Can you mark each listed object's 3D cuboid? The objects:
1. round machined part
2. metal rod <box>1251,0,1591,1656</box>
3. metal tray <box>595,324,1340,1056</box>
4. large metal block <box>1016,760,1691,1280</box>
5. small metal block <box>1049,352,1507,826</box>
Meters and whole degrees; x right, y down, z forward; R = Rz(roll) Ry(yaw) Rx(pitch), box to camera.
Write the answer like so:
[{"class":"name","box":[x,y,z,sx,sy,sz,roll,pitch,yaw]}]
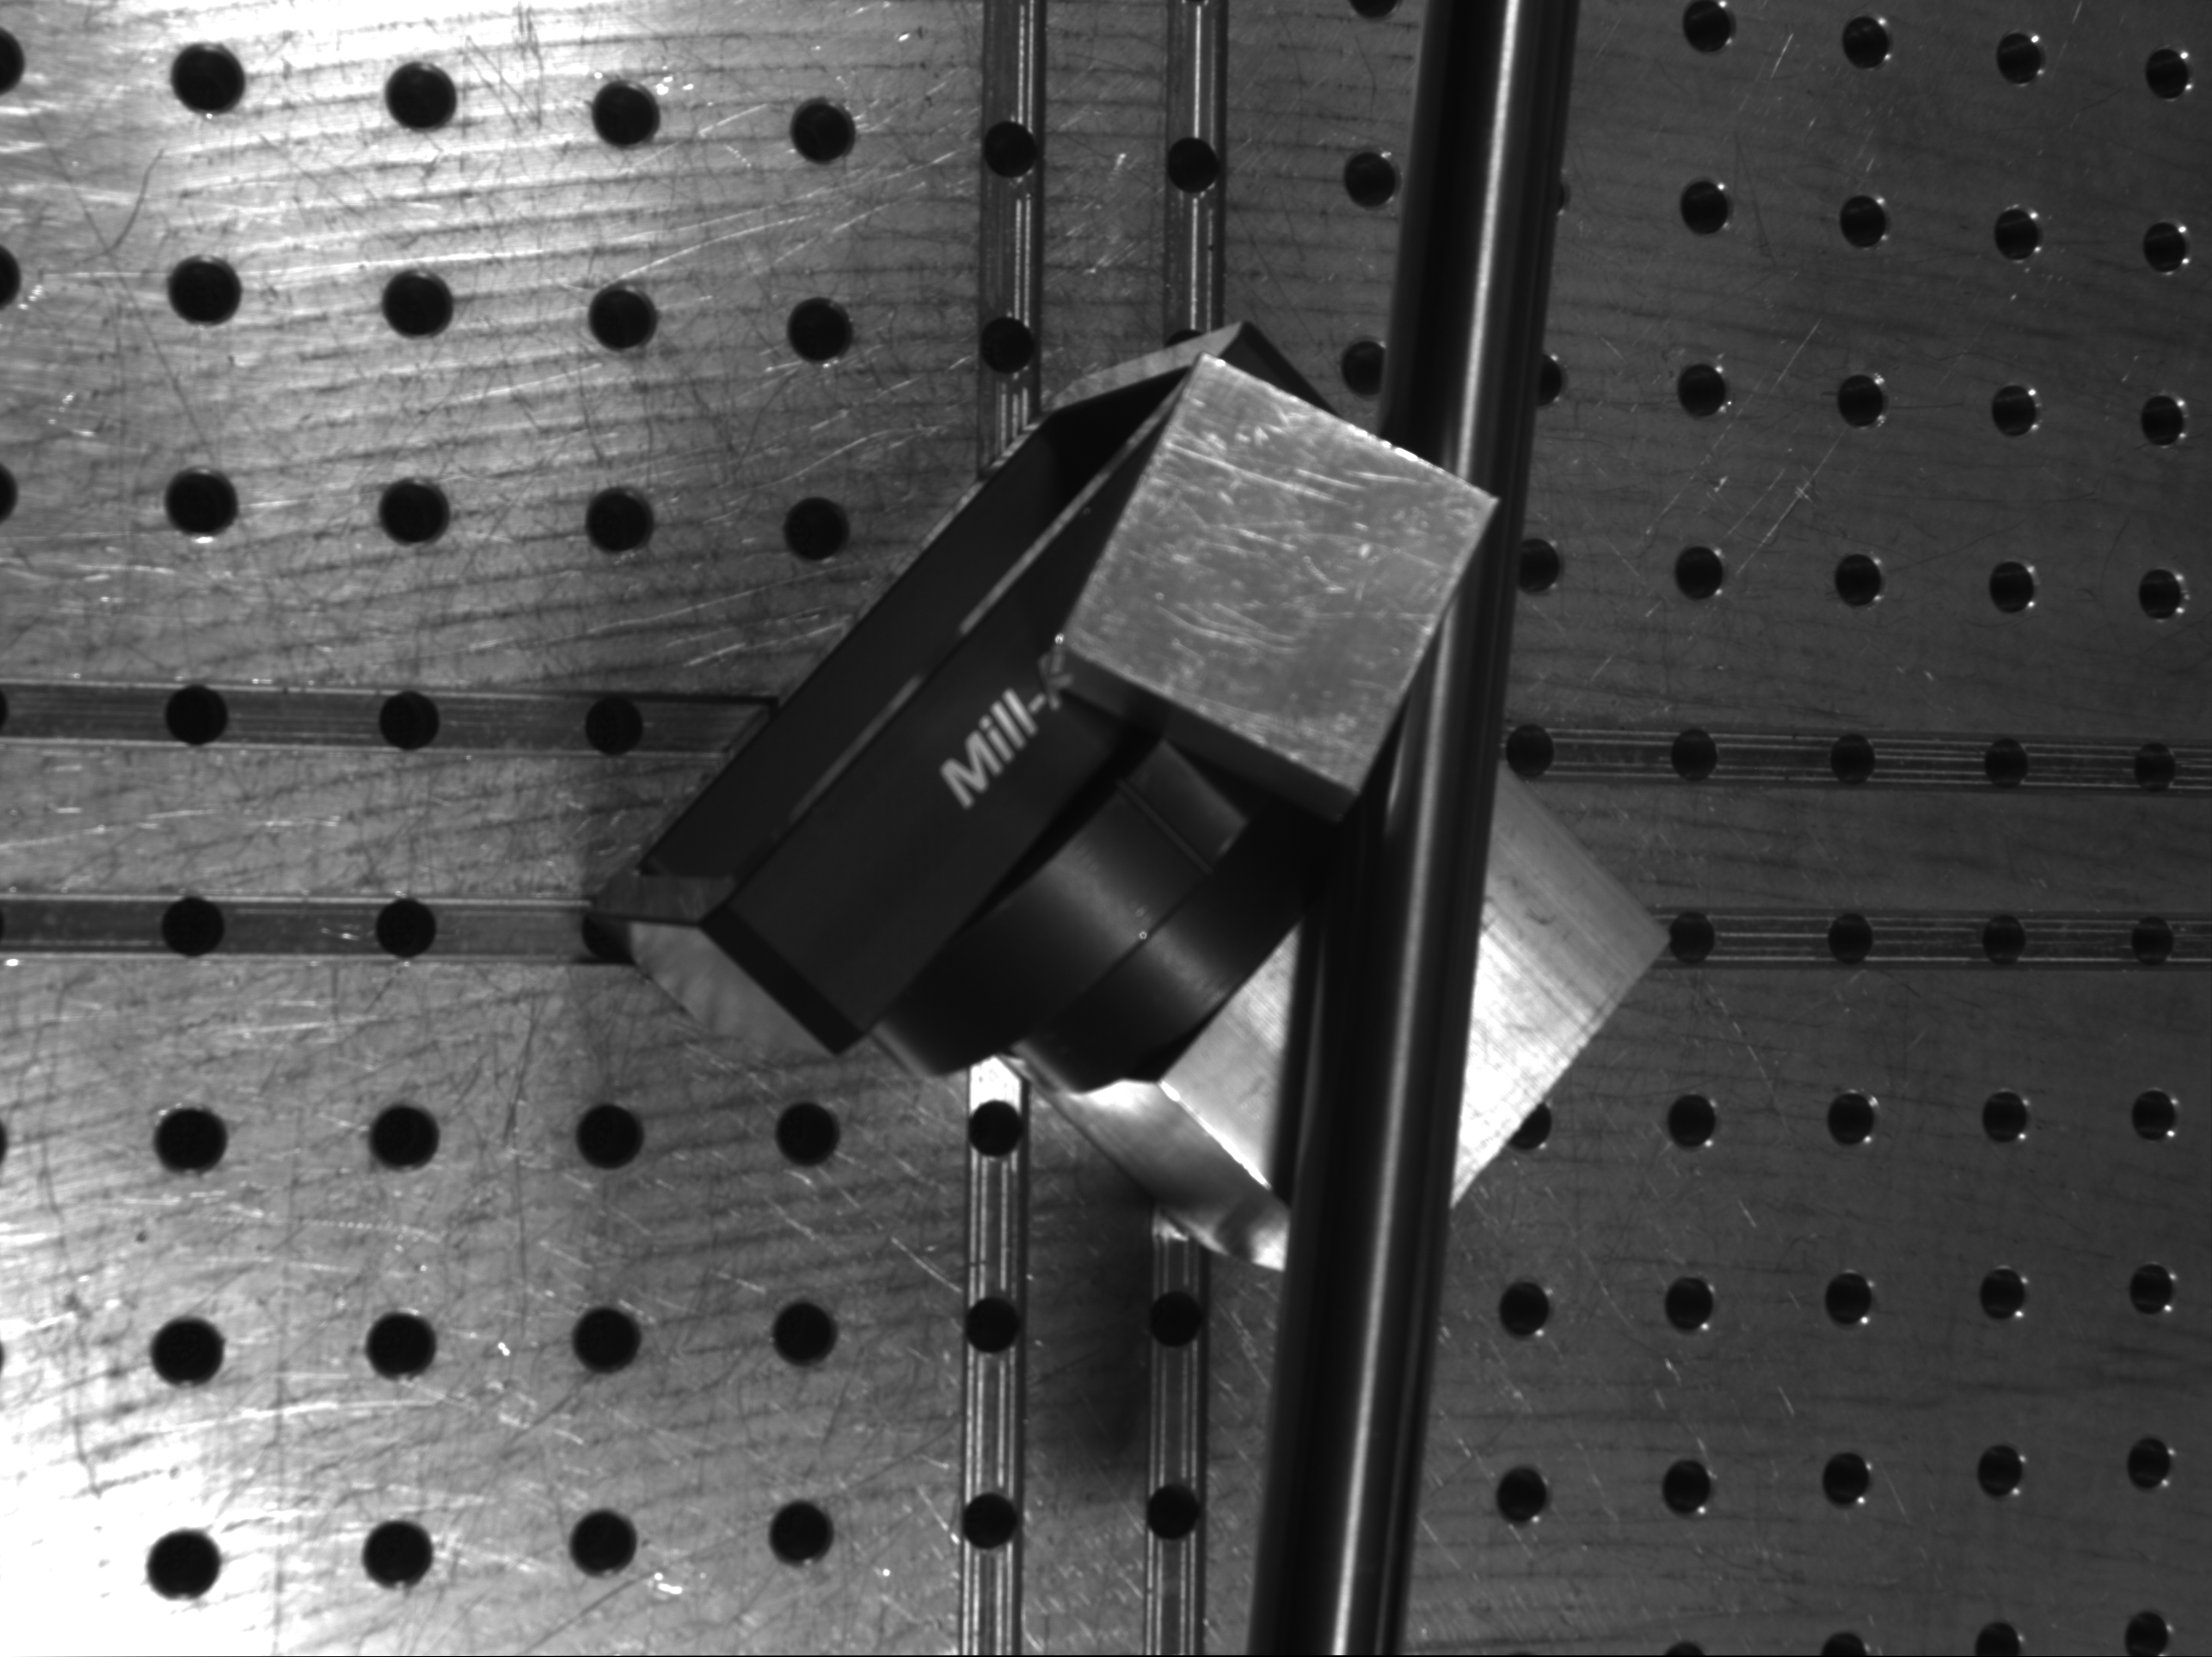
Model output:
[{"class":"round machined part","box":[-0.001,0.003,0.611,0.042,0.098,0.098,44,76,-14]},{"class":"metal rod","box":[0.048,0.015,0.578,0.025,0.025,0.300,7,87,-20]},{"class":"metal tray","box":[-0.022,-0.023,0.603,0.030,0.090,0.130,45,76,-14]},{"class":"large metal block","box":[0.040,0.031,0.628,0.050,0.080,0.080,45,76,-14]},{"class":"small metal block","box":[0.025,-0.036,0.551,0.050,0.025,0.050,26,79,1]}]
